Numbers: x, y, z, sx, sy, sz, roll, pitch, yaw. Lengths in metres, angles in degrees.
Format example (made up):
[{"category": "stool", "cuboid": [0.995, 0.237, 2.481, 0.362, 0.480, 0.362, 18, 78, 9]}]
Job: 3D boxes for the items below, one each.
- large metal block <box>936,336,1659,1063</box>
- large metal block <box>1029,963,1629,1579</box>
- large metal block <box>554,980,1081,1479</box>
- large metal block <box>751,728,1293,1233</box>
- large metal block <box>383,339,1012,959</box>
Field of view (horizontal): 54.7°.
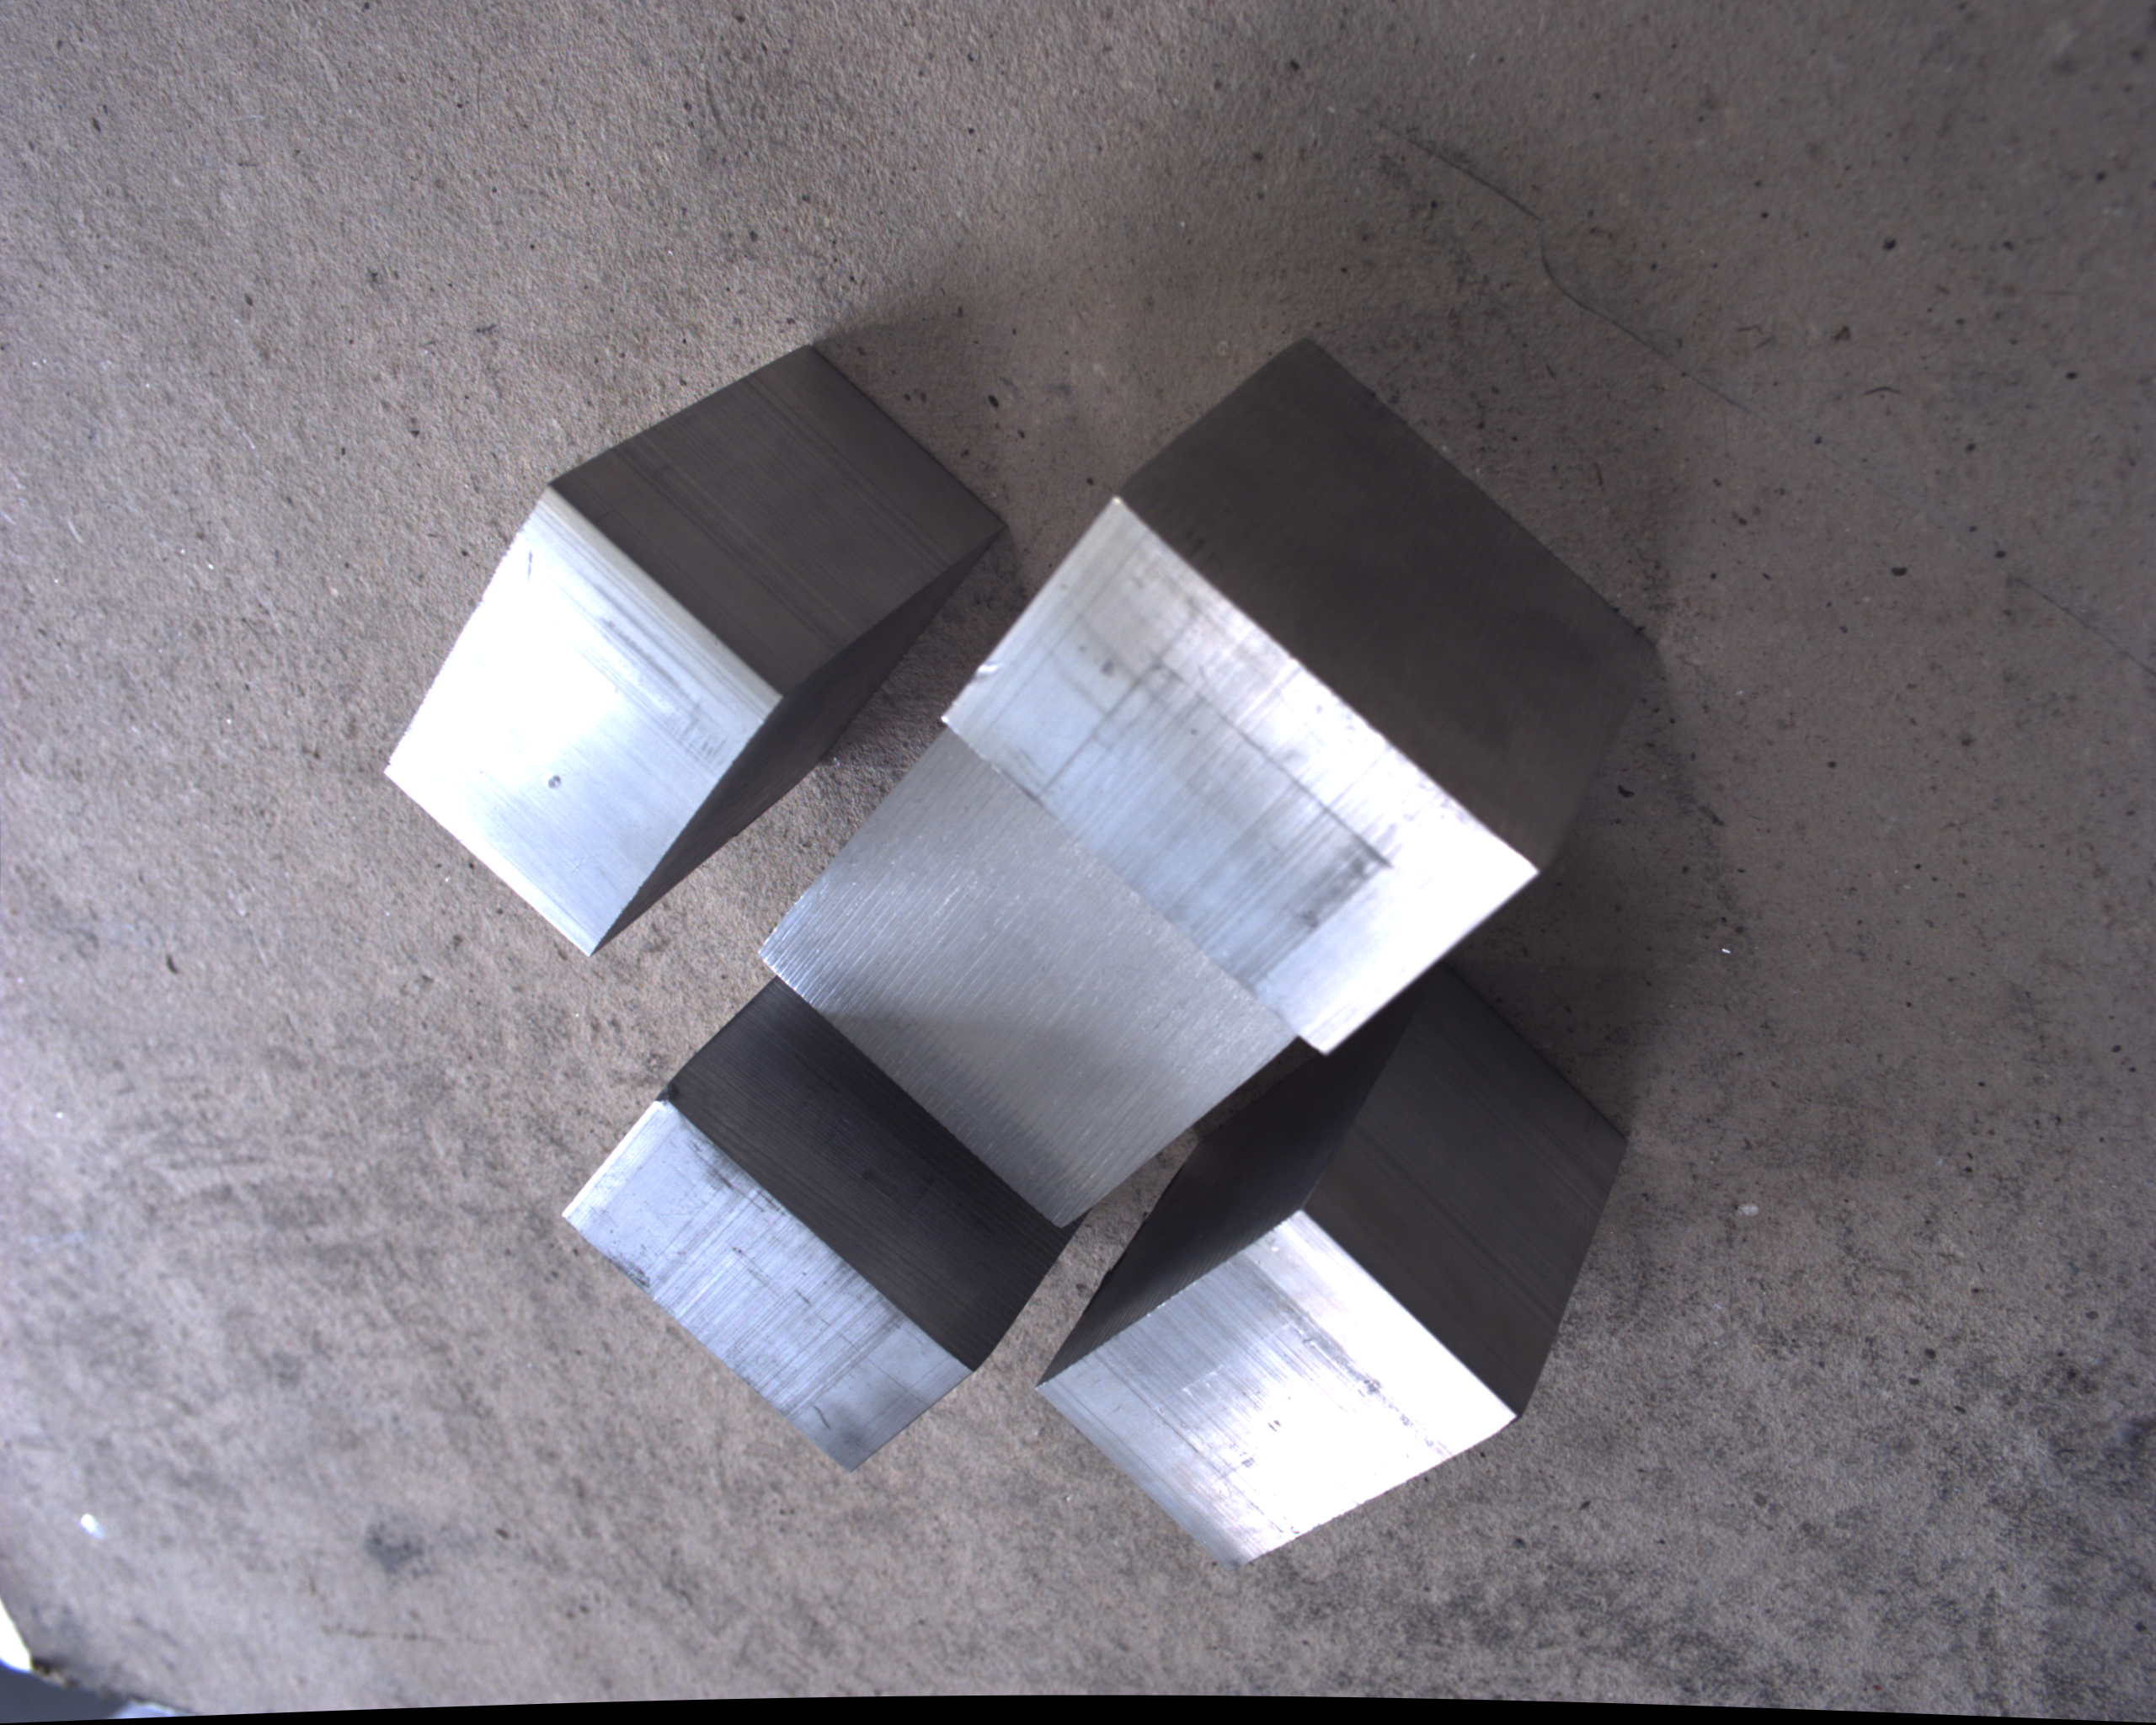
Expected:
[{"category": "large metal block", "cuboid": [0.038, -0.029, 0.335, 0.080, 0.080, 0.050, 42, 129, -1]}, {"category": "large metal block", "cuboid": [0.048, 0.076, 0.394, 0.050, 0.080, 0.080, 45, 129, -2]}, {"category": "large metal block", "cuboid": [-0.046, 0.065, 0.437, 0.080, 0.080, 0.050, 42, 129, -1]}, {"category": "large metal block", "cuboid": [-0.001, 0.011, 0.396, 0.080, 0.050, 0.080, 43, 129, -2]}, {"category": "large metal block", "cuboid": [-0.069, -0.040, 0.385, 0.050, 0.080, 0.080, 43, 129, -1]}]
